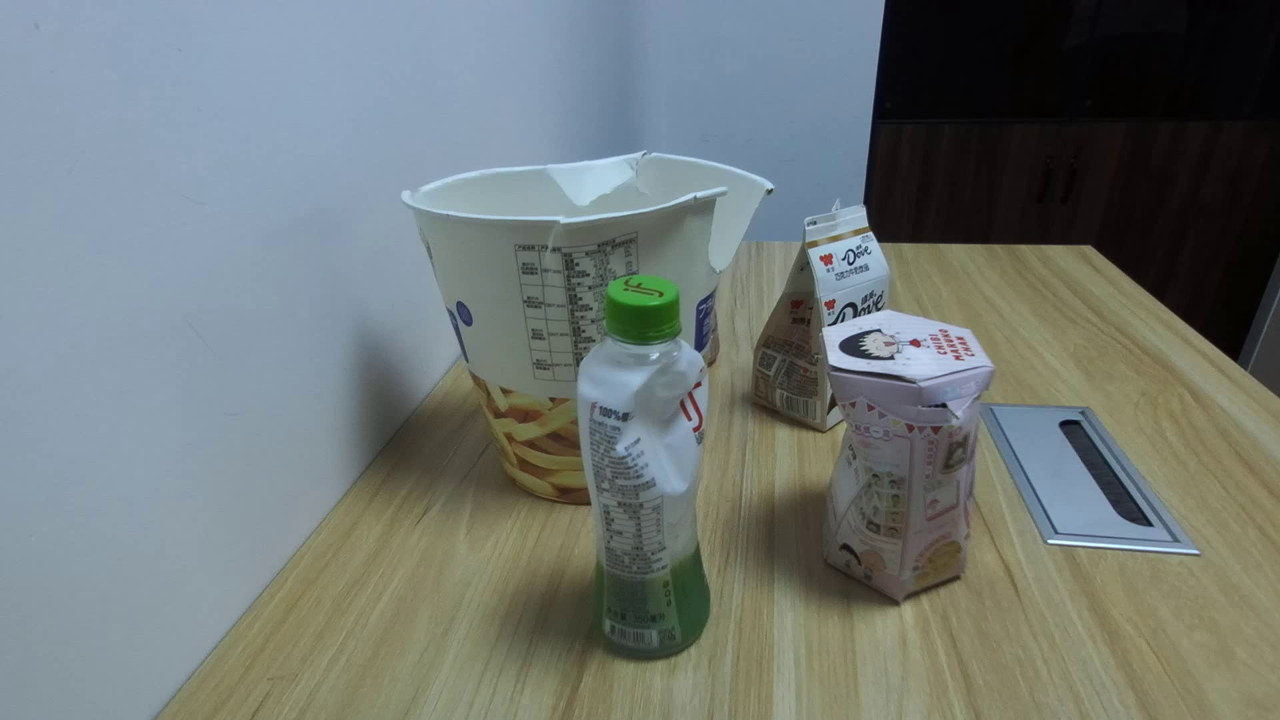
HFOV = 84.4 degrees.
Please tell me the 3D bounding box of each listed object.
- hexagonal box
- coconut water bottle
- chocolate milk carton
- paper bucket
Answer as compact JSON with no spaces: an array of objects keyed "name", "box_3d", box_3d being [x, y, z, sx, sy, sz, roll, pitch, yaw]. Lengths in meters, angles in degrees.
[{"name":"hexagonal box","box_3d":[0.137,0.052,0.386,0.091,0.134,0.089,-24,31,-34]},{"name":"coconut water bottle","box_3d":[0.004,0.053,0.336,0.069,0.187,0.069,-1,25,1]},{"name":"chocolate milk carton","box_3d":[0.133,-0.036,0.530,0.084,0.155,0.072,-25,35,-37]},{"name":"paper bucket","box_3d":[-0.029,-0.026,0.477,0.203,0.197,0.145,-17,32,-23]}]
